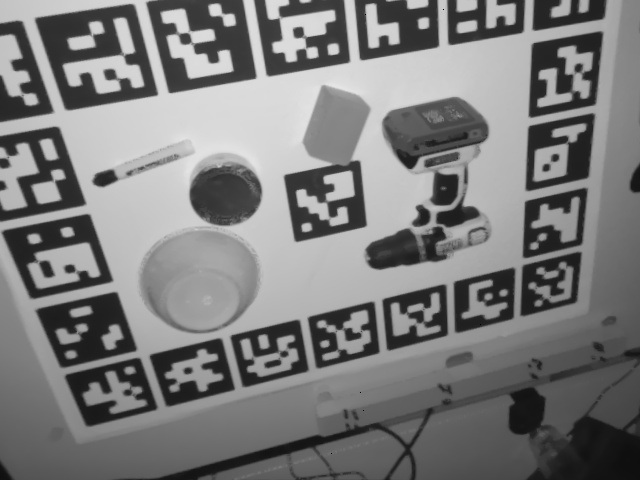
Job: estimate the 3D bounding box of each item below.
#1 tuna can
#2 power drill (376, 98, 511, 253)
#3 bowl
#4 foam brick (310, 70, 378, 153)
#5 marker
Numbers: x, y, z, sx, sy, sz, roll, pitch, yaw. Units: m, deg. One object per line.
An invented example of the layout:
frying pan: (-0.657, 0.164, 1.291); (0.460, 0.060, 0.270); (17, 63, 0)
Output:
tuna can: (-0.108, -0.068, 0.810); (0.086, 0.034, 0.085); (-5, 119, -8)
power drill: (0.154, -0.072, 0.863); (0.185, 0.057, 0.186); (-11, 122, -3)
bowl: (-0.141, 0.052, 0.868); (0.163, 0.055, 0.160); (-9, 126, -12)
foam brick: (0.026, -0.148, 0.797); (0.052, 0.053, 0.077); (11, 114, -17)
marker: (-0.199, -0.099, 0.779); (0.121, 0.020, 0.019); (-20, 119, -2)
